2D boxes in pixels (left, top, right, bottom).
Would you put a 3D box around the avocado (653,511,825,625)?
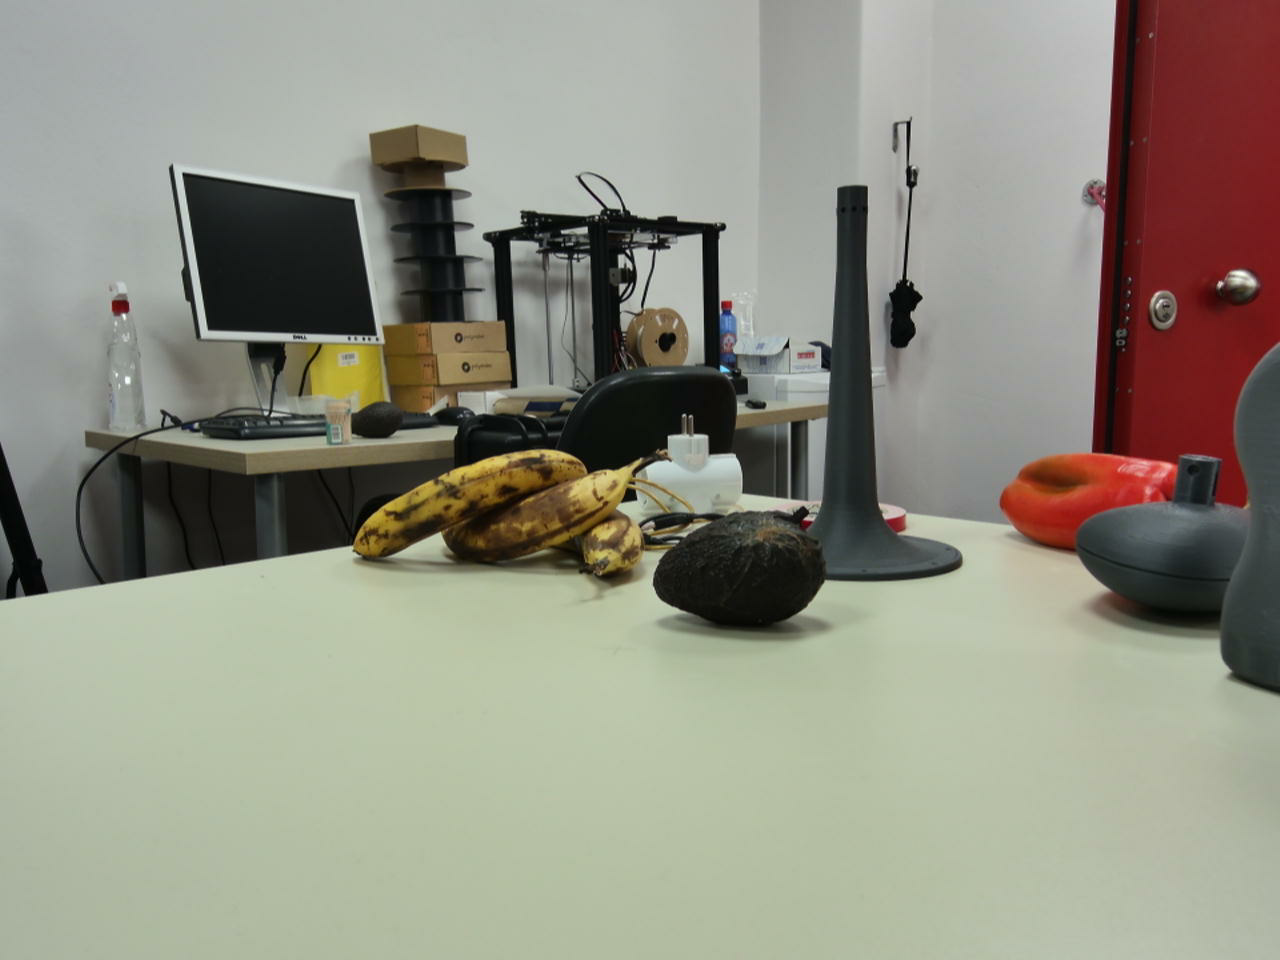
[{"bbox_3d":[0.054,0.048,0.548,0.092,0.062,0.062,3,6,24],"label":"avocado"}]
